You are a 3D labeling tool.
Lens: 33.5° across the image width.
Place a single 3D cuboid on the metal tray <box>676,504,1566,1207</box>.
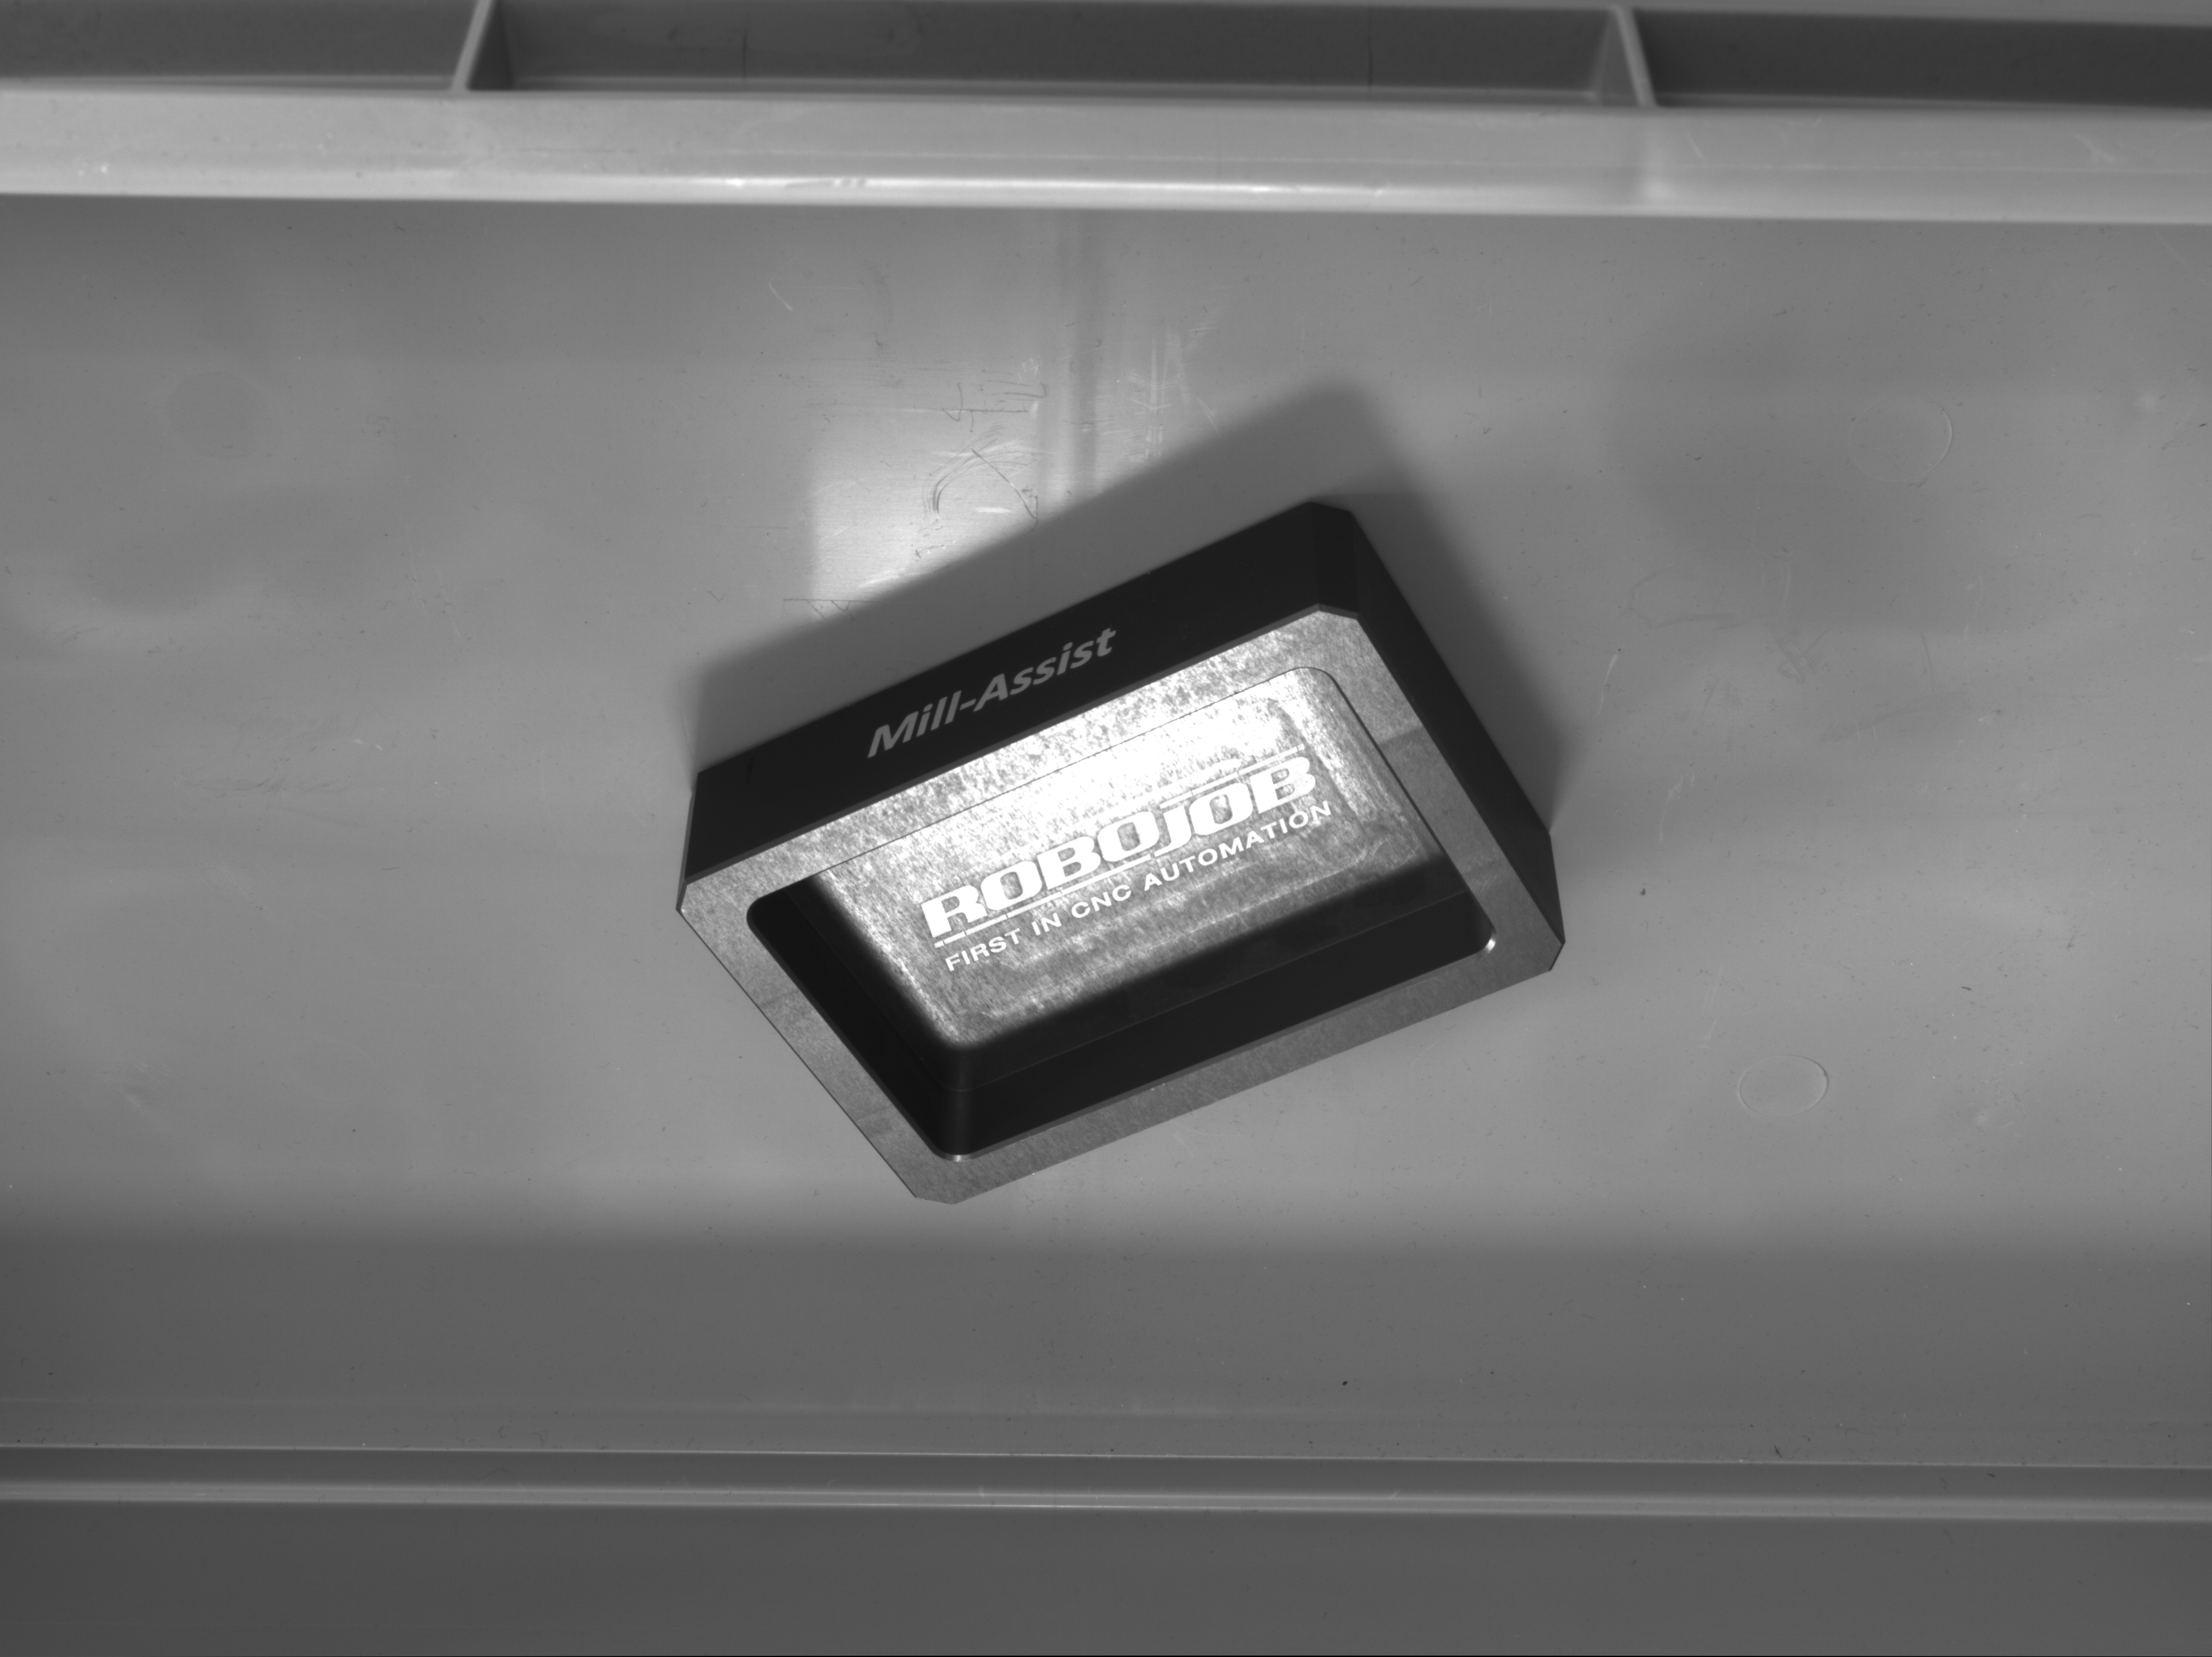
[{"bbox_3d":[0.003,0.008,0.640,0.130,0.030,0.090,-23,127,18],"label":"metal tray"}]
